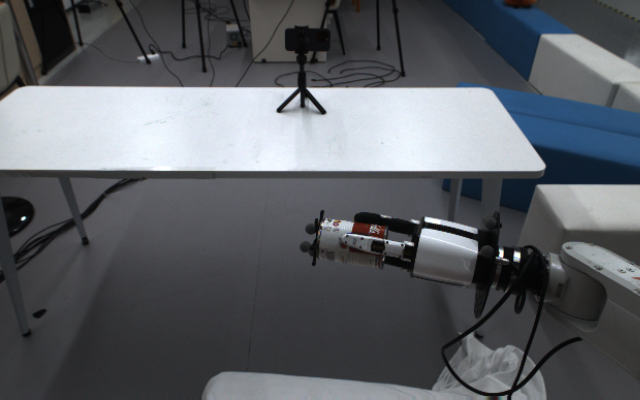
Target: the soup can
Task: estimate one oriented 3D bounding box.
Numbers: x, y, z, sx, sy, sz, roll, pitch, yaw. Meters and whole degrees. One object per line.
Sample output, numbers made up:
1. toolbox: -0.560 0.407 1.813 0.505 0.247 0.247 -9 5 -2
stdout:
1. soup can: 0.053 0.066 0.750 0.101 0.067 0.067 6 35 11
